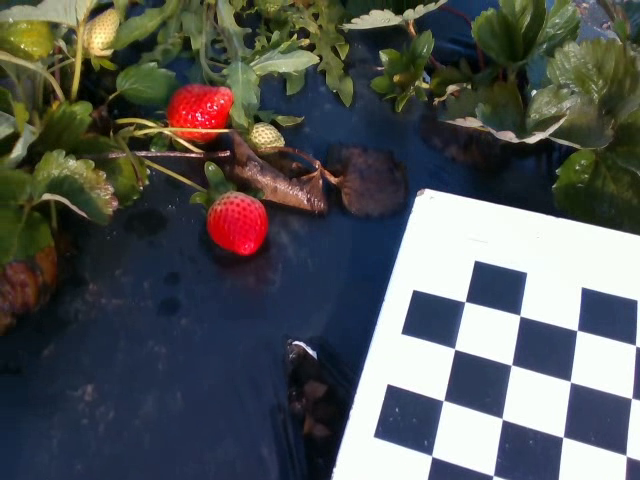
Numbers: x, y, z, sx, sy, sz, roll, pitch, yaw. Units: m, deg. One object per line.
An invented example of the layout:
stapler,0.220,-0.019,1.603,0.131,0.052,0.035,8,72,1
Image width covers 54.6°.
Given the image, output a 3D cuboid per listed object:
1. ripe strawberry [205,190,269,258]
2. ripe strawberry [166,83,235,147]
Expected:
ripe strawberry,-0.042,-0.007,0.310,0.035,0.043,0.030,-16,-37,-10
ripe strawberry,-0.069,-0.080,0.357,0.048,0.040,0.031,-25,-44,37
